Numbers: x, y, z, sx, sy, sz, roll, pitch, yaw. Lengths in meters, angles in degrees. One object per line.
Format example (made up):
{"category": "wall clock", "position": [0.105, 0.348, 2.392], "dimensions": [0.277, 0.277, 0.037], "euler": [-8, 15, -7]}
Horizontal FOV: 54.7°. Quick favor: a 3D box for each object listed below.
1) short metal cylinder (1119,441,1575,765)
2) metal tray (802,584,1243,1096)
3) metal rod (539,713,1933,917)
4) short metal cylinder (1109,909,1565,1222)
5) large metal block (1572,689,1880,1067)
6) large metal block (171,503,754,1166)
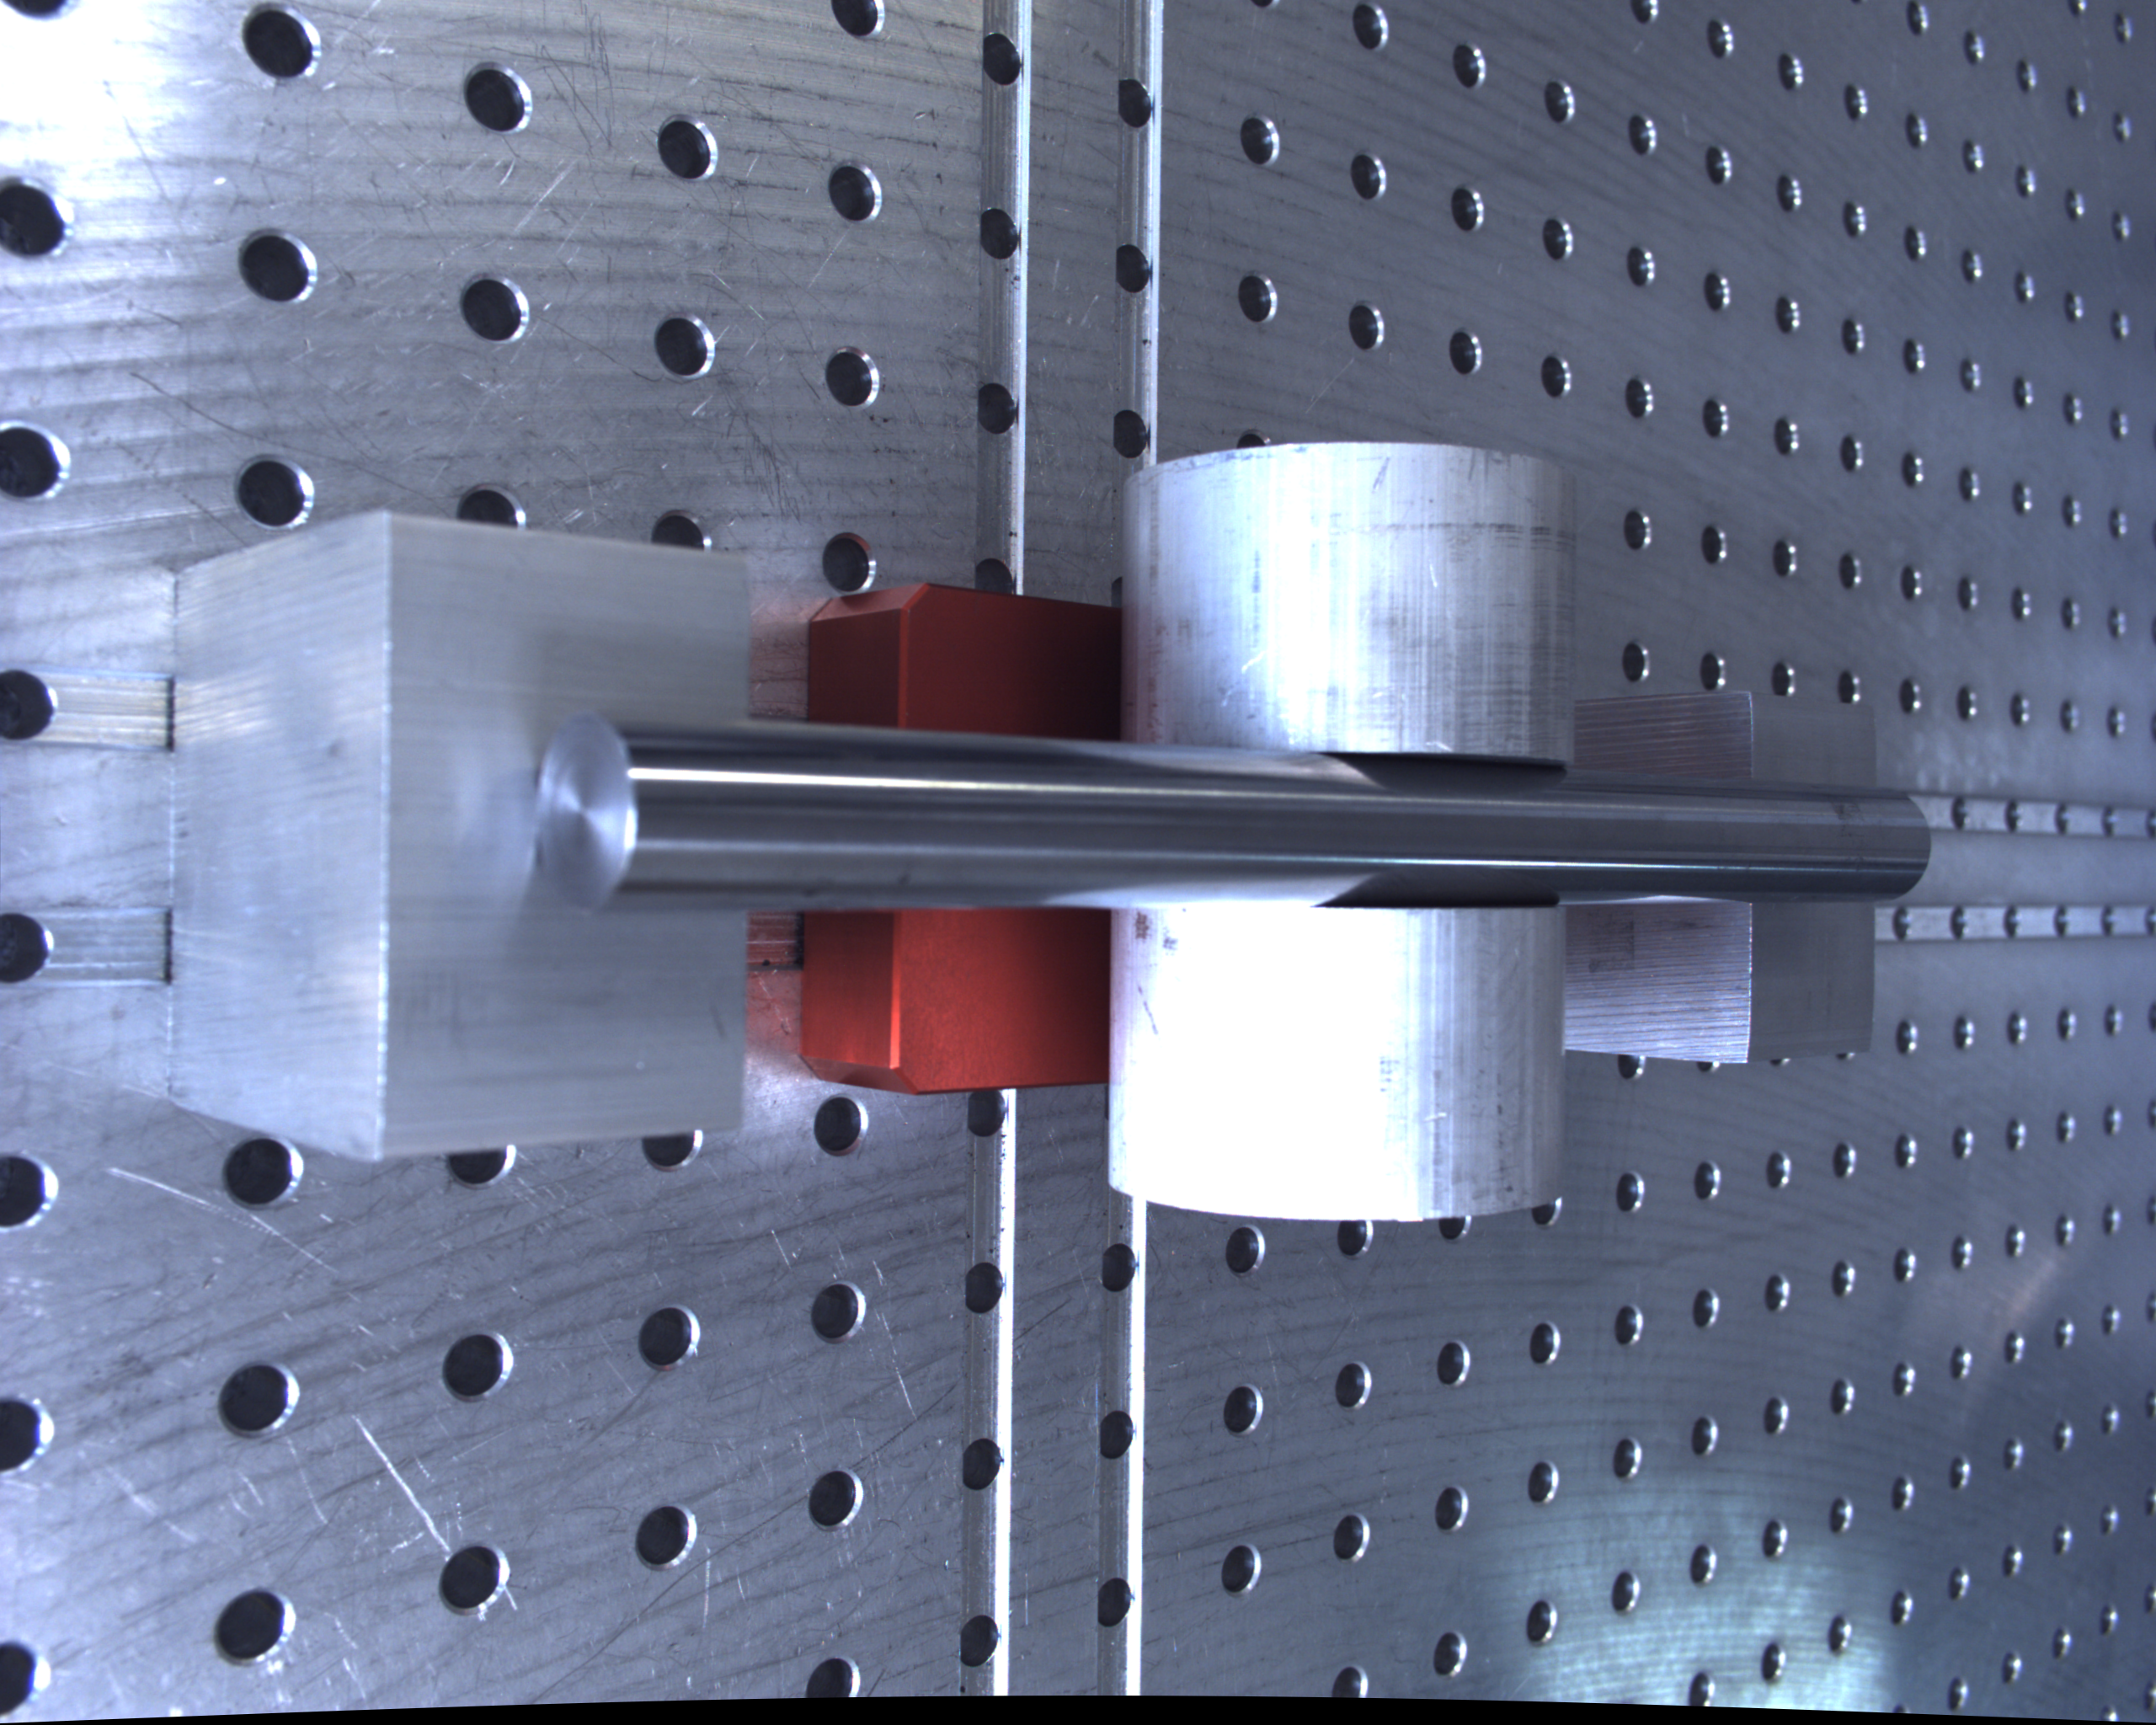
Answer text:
{"category": "short metal cylinder", "position": [0.048, -0.043, 0.374], "dimensions": [0.081, 0.080, 0.050], "euler": [1, 90, -40]}
{"category": "metal tray", "position": [0.009, -0.003, 0.413], "dimensions": [0.131, 0.030, 0.089], "euler": [2, 89, -40]}
{"category": "metal rod", "position": [0.056, -0.005, 0.351], "dimensions": [0.302, 0.025, 0.025], "euler": [1, 90, -40]}
{"category": "short metal cylinder", "position": [0.046, 0.032, 0.372], "dimensions": [0.081, 0.080, 0.050], "euler": [1, 90, -40]}
{"category": "large metal block", "position": [0.136, 0.003, 0.485], "dimensions": [0.050, 0.080, 0.080], "euler": [1, 90, -40]}
{"category": "large metal block", "position": [-0.089, -0.003, 0.297], "dimensions": [0.050, 0.080, 0.080], "euler": [1, 90, -40]}
